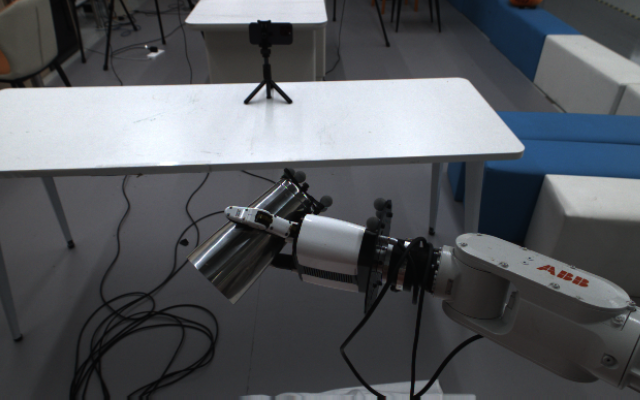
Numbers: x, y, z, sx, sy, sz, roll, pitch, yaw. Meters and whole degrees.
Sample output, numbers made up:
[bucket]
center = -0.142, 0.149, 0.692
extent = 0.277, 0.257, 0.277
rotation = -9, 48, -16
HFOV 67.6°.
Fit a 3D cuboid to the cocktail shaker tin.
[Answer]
[cocktail shaker tin]
center = -0.090, 0.047, 0.672
extent = 0.170, 0.093, 0.093
rotation = -43, 50, -14
